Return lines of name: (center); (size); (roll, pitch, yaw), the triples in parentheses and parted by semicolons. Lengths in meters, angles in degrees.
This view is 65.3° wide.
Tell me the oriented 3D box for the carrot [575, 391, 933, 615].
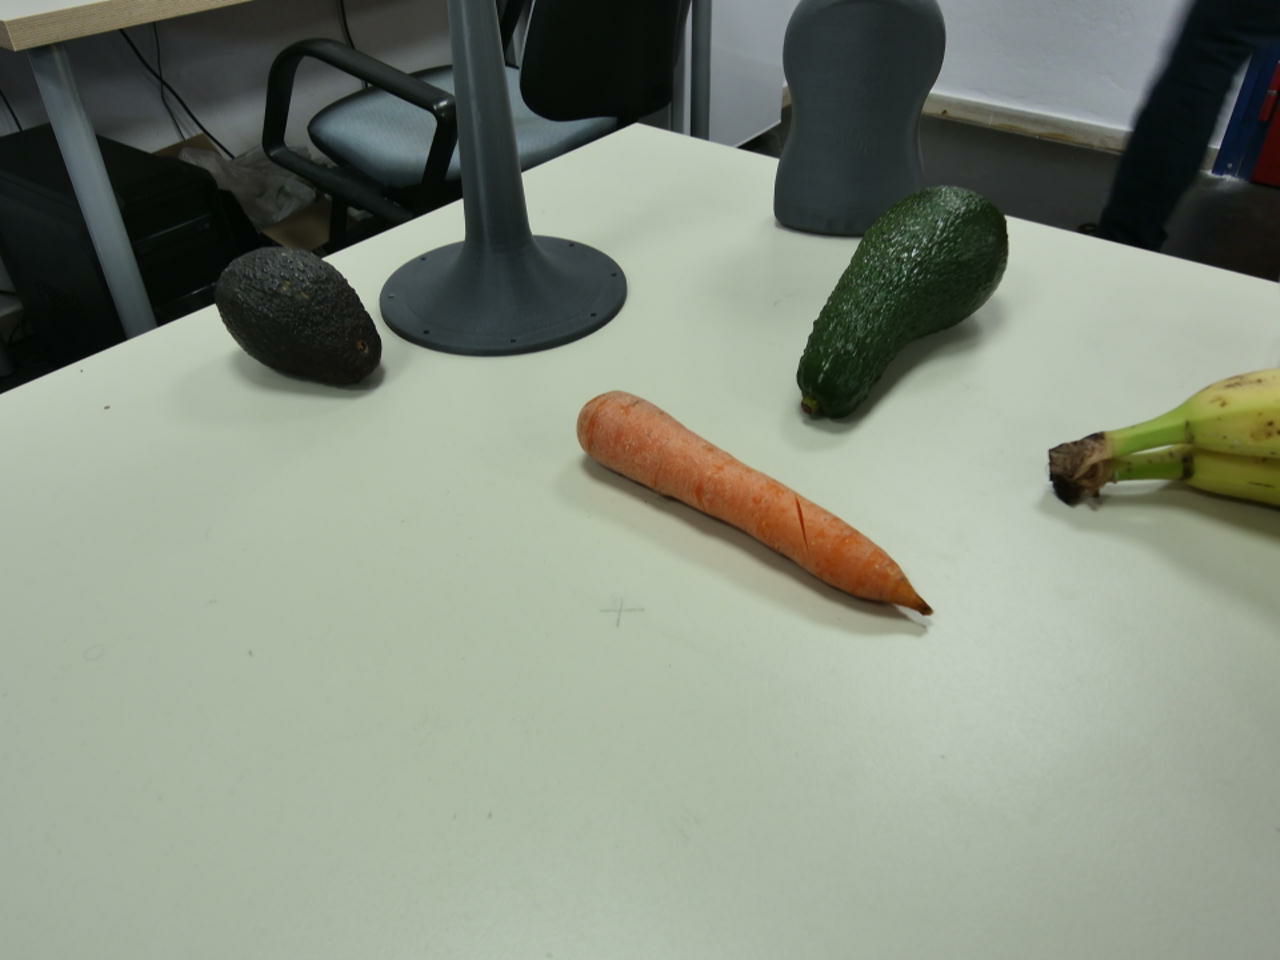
carrot: (0.049, 0.006, 0.460); (0.196, 0.041, 0.039); (27, 44, 31)
